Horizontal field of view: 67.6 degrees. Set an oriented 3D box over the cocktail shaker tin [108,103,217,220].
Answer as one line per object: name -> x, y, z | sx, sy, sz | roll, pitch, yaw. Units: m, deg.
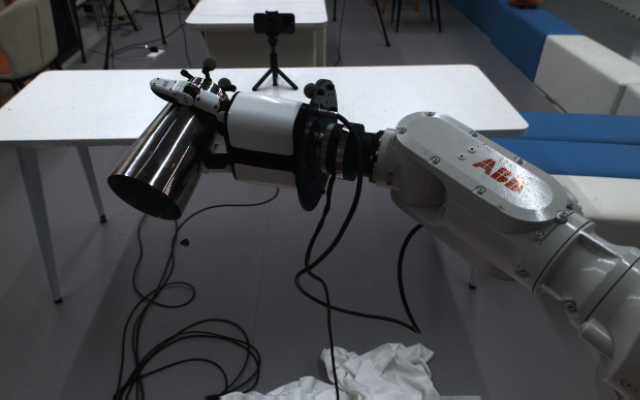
cocktail shaker tin -> -0.177, -0.074, 0.602 | 0.093, 0.093, 0.170 | 13, 59, 16
